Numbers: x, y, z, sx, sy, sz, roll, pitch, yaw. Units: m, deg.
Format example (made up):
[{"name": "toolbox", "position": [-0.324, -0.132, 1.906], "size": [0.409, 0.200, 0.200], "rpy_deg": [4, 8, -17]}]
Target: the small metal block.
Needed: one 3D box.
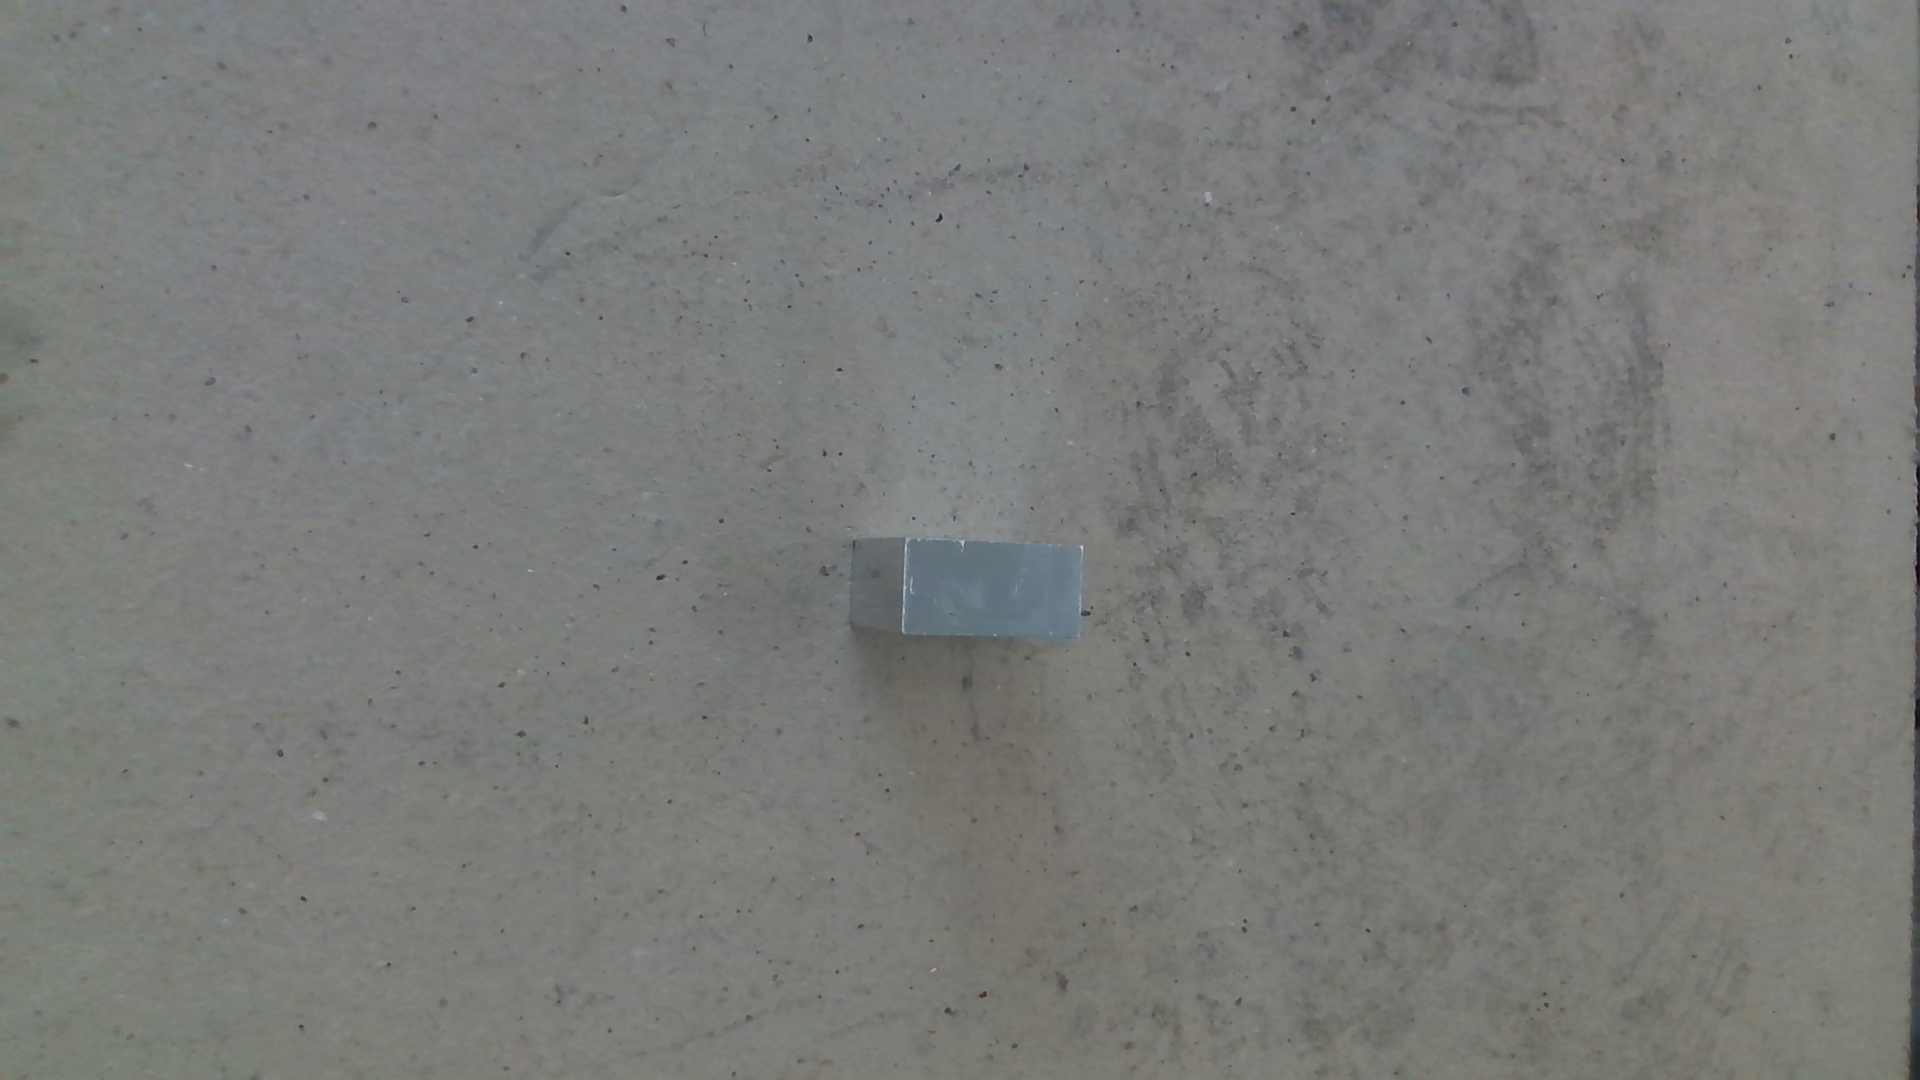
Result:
[{"name": "small metal block", "position": [0.000, 0.012, 0.381], "size": [0.050, 0.050, 0.025], "rpy_deg": [2, 90, -20]}]
